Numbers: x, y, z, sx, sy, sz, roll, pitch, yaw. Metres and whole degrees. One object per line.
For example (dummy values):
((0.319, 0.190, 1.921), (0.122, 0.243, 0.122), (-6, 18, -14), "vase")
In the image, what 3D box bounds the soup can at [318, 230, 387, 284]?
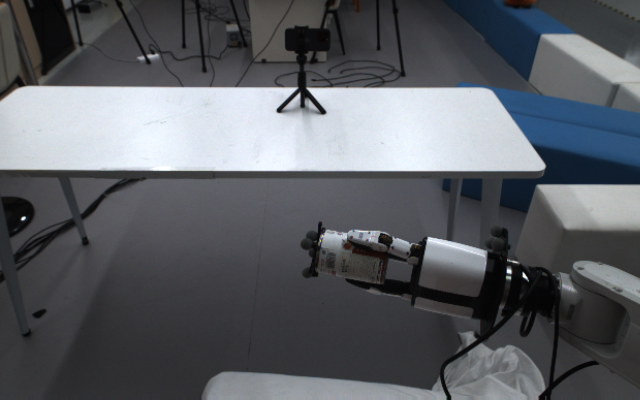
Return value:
((0.052, 0.084, 0.713), (0.101, 0.067, 0.067), (9, 35, 9), "soup can")
